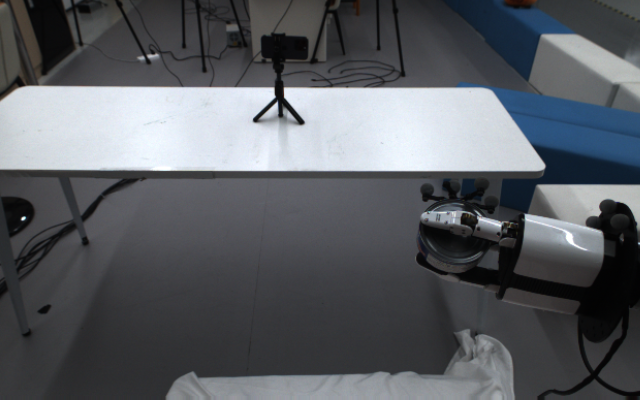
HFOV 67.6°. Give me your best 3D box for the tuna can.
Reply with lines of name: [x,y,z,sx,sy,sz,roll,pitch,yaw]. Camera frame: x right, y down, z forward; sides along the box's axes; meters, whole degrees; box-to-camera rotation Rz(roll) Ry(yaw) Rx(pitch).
tuna can: [0.161,0.037,0.581,0.085,0.034,0.085,-2,56,3]
